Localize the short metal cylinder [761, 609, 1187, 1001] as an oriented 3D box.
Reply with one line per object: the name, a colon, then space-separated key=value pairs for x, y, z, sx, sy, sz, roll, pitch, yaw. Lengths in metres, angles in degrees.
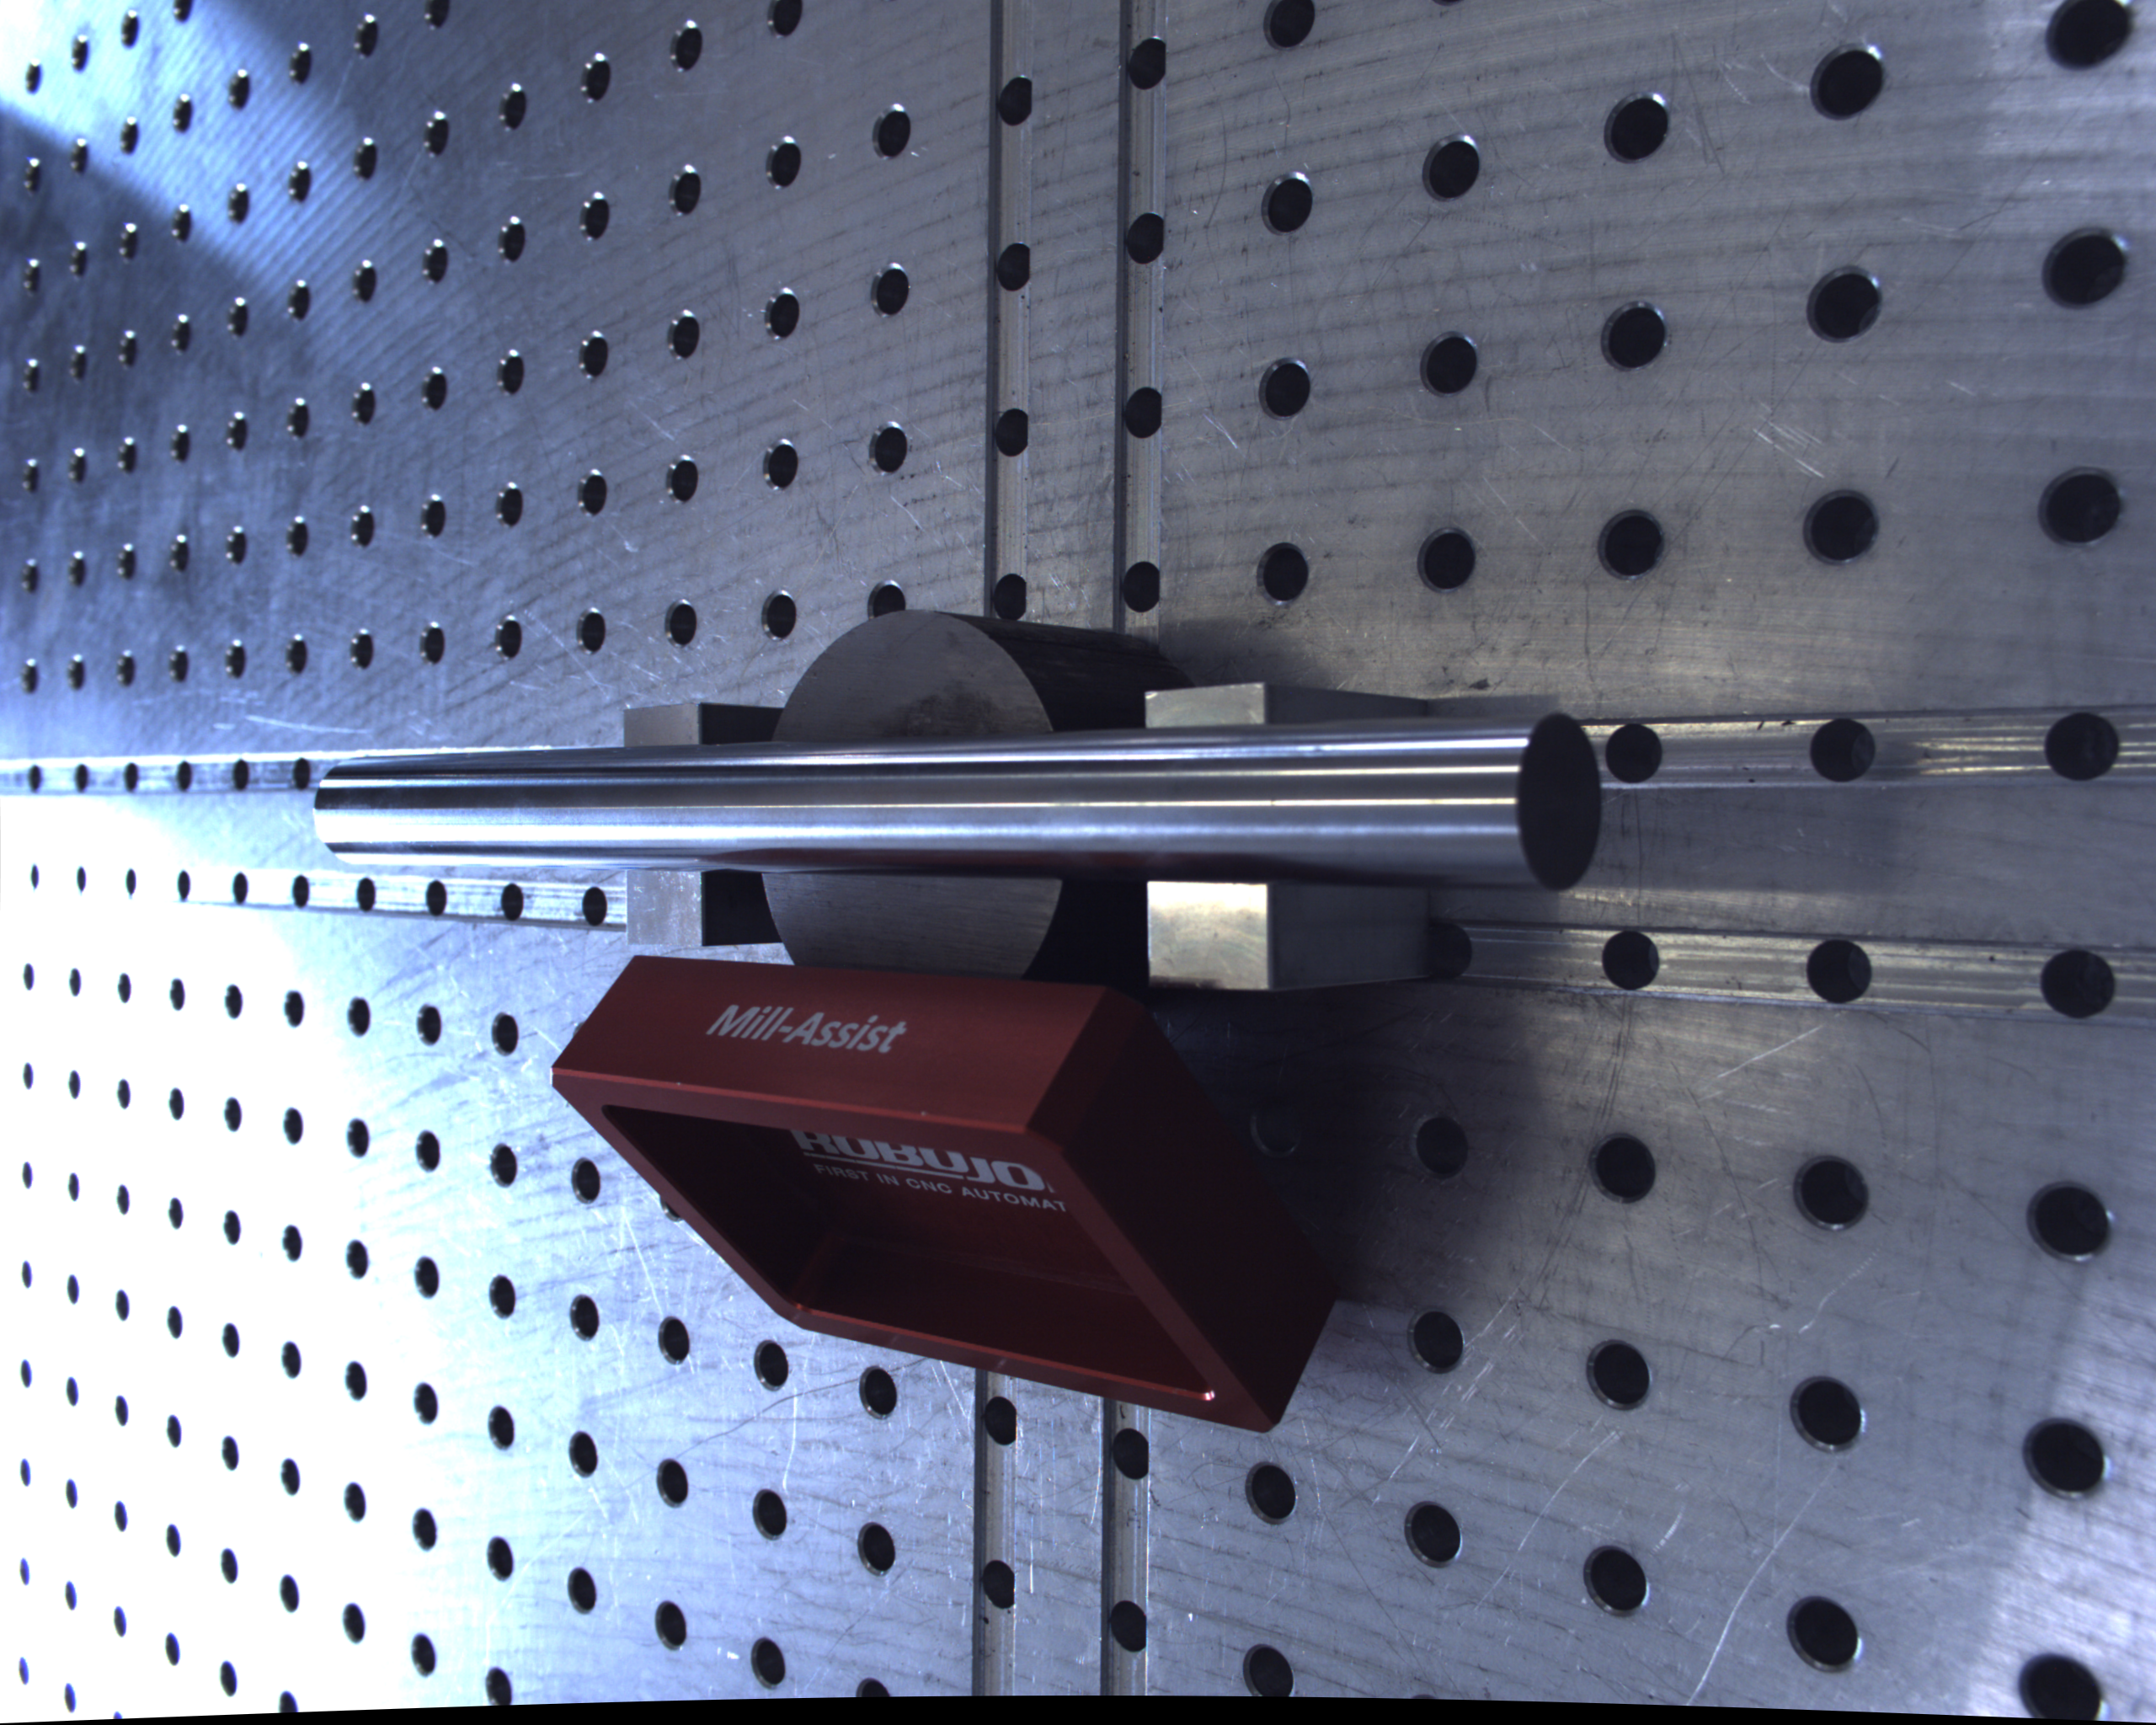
short metal cylinder: x=-0.017 y=-0.007 z=0.407 sx=0.080 sy=0.050 sz=0.080 roll=0 pitch=90 yaw=40

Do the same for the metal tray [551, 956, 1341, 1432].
metal tray: x=-0.027 y=0.060 z=0.392 sx=0.130 sy=0.090 sz=0.030 roll=1 pitch=48 yaw=40

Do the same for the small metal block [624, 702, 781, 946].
small metal block: x=-0.070 y=-0.008 z=0.451 sx=0.025 sy=0.050 sz=0.050 roll=-1 pitch=90 yaw=40

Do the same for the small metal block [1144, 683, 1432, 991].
small metal block: x=0.037 y=-0.004 z=0.363 sx=0.025 sy=0.050 sz=0.050 roll=-1 pitch=90 yaw=40

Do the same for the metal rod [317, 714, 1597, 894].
metal rod: x=-0.049 y=-0.011 z=0.384 sx=0.300 sy=0.025 sz=0.025 roll=1 pitch=91 yaw=40
